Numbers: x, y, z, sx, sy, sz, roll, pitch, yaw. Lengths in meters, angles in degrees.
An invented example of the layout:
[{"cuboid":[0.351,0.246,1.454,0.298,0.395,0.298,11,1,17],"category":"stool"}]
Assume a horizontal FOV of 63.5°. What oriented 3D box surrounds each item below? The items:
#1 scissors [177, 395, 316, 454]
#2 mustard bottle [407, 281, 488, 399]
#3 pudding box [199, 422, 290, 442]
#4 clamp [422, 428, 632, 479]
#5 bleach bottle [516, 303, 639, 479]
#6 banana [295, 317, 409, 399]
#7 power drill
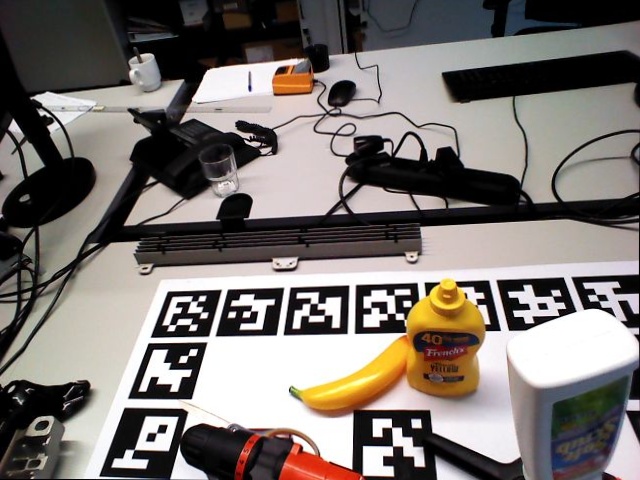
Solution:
[{"cuboid":[-0.105,0.207,0.579,0.204,0.016,0.087,19,53,24],"category":"scissors"},{"cuboid":[0.157,0.122,0.641,0.097,0.192,0.058,8,44,19],"category":"mustard bottle"},{"cuboid":[-0.087,0.259,0.614,0.114,0.090,0.038,0,36,13],"category":"pudding box"},{"cuboid":[0.224,0.264,0.552,0.203,0.037,0.164,-6,43,4],"category":"clamp"},{"cuboid":[0.244,0.174,0.488,0.103,0.251,0.067,-20,37,1],"category":"bleach bottle"},{"cuboid":[0.062,0.166,0.714,0.196,0.039,0.074,-30,27,-19],"category":"banana"},{"cuboid":[-0.049,0.255,0.492,0.185,0.187,0.057,4,37,22],"category":"power drill"}]
